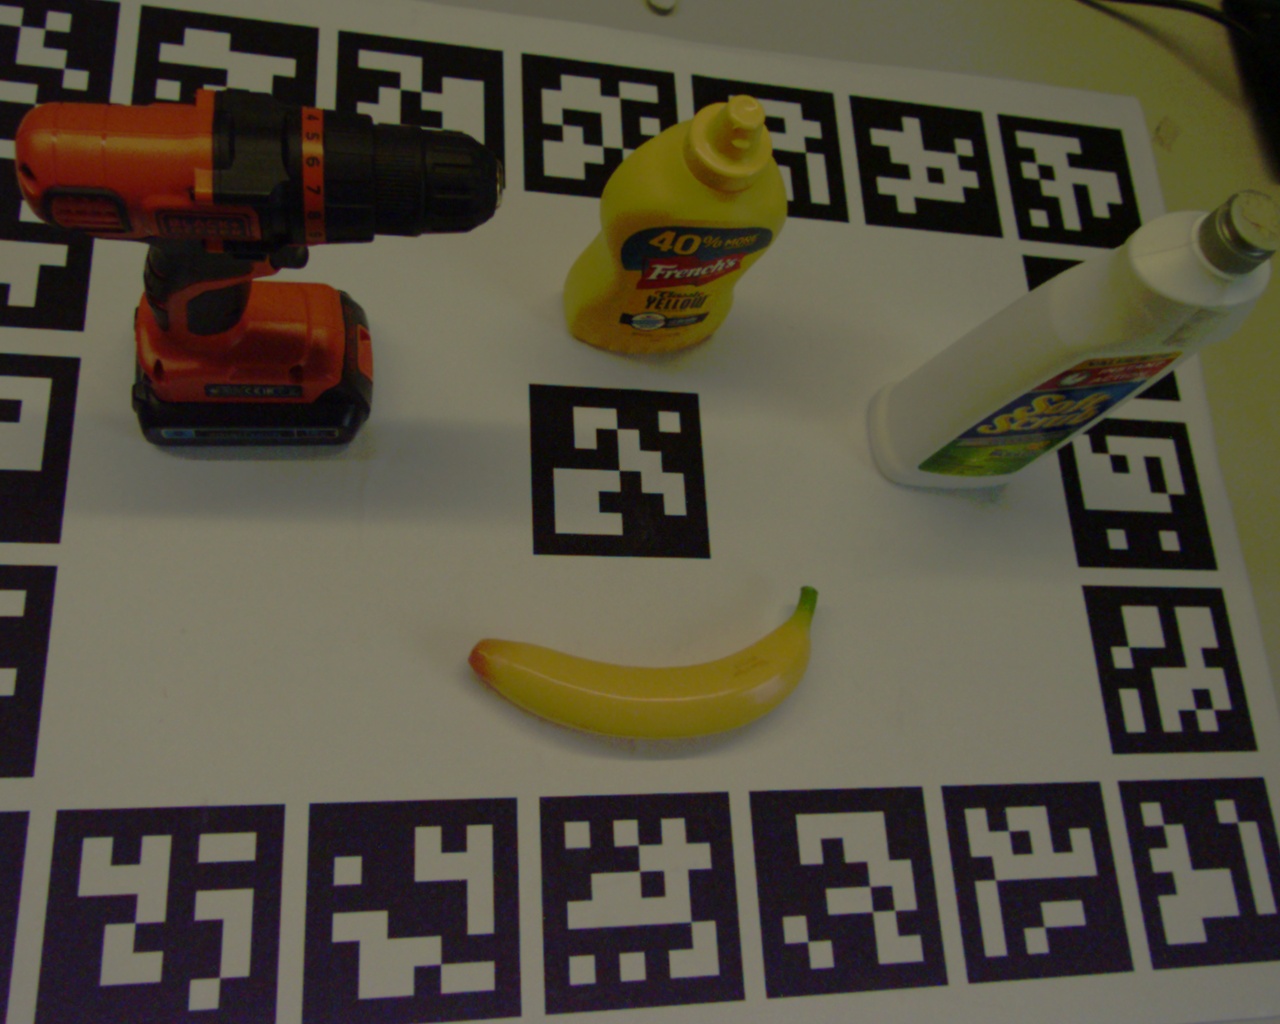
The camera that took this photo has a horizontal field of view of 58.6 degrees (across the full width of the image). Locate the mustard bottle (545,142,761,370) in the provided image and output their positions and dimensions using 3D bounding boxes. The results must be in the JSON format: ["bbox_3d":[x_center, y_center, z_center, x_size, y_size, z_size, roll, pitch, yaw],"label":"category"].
[{"bbox_3d":[0.013,-0.141,0.628,0.095,0.192,0.058,-6,75,-19],"label":"mustard bottle"}]

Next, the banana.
[{"bbox_3d":[0.004,0.082,0.624,0.196,0.039,0.074,-4,76,-13],"label":"banana"}]

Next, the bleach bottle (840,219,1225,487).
[{"bbox_3d":[0.209,-0.085,0.626,0.102,0.252,0.068,10,71,-13],"label":"bleach bottle"}]

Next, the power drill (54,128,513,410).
[{"bbox_3d":[-0.158,-0.110,0.540,0.183,0.187,0.057,-5,74,-13],"label":"power drill"}]
